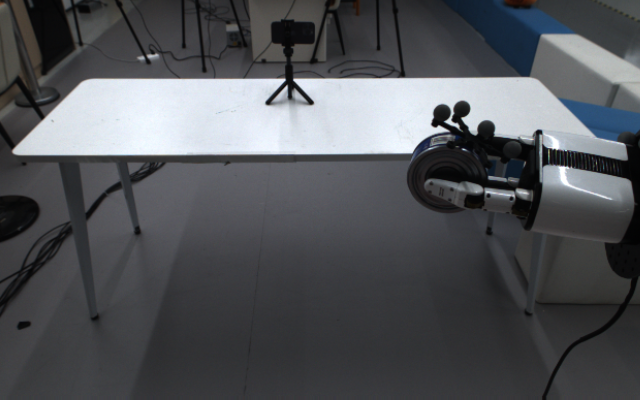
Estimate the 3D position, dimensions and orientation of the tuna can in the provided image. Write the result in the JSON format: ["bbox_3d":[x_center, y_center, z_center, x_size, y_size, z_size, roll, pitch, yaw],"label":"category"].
[{"bbox_3d":[0.143,-0.023,0.526,0.085,0.085,0.034,12,35,14],"label":"tuna can"}]
